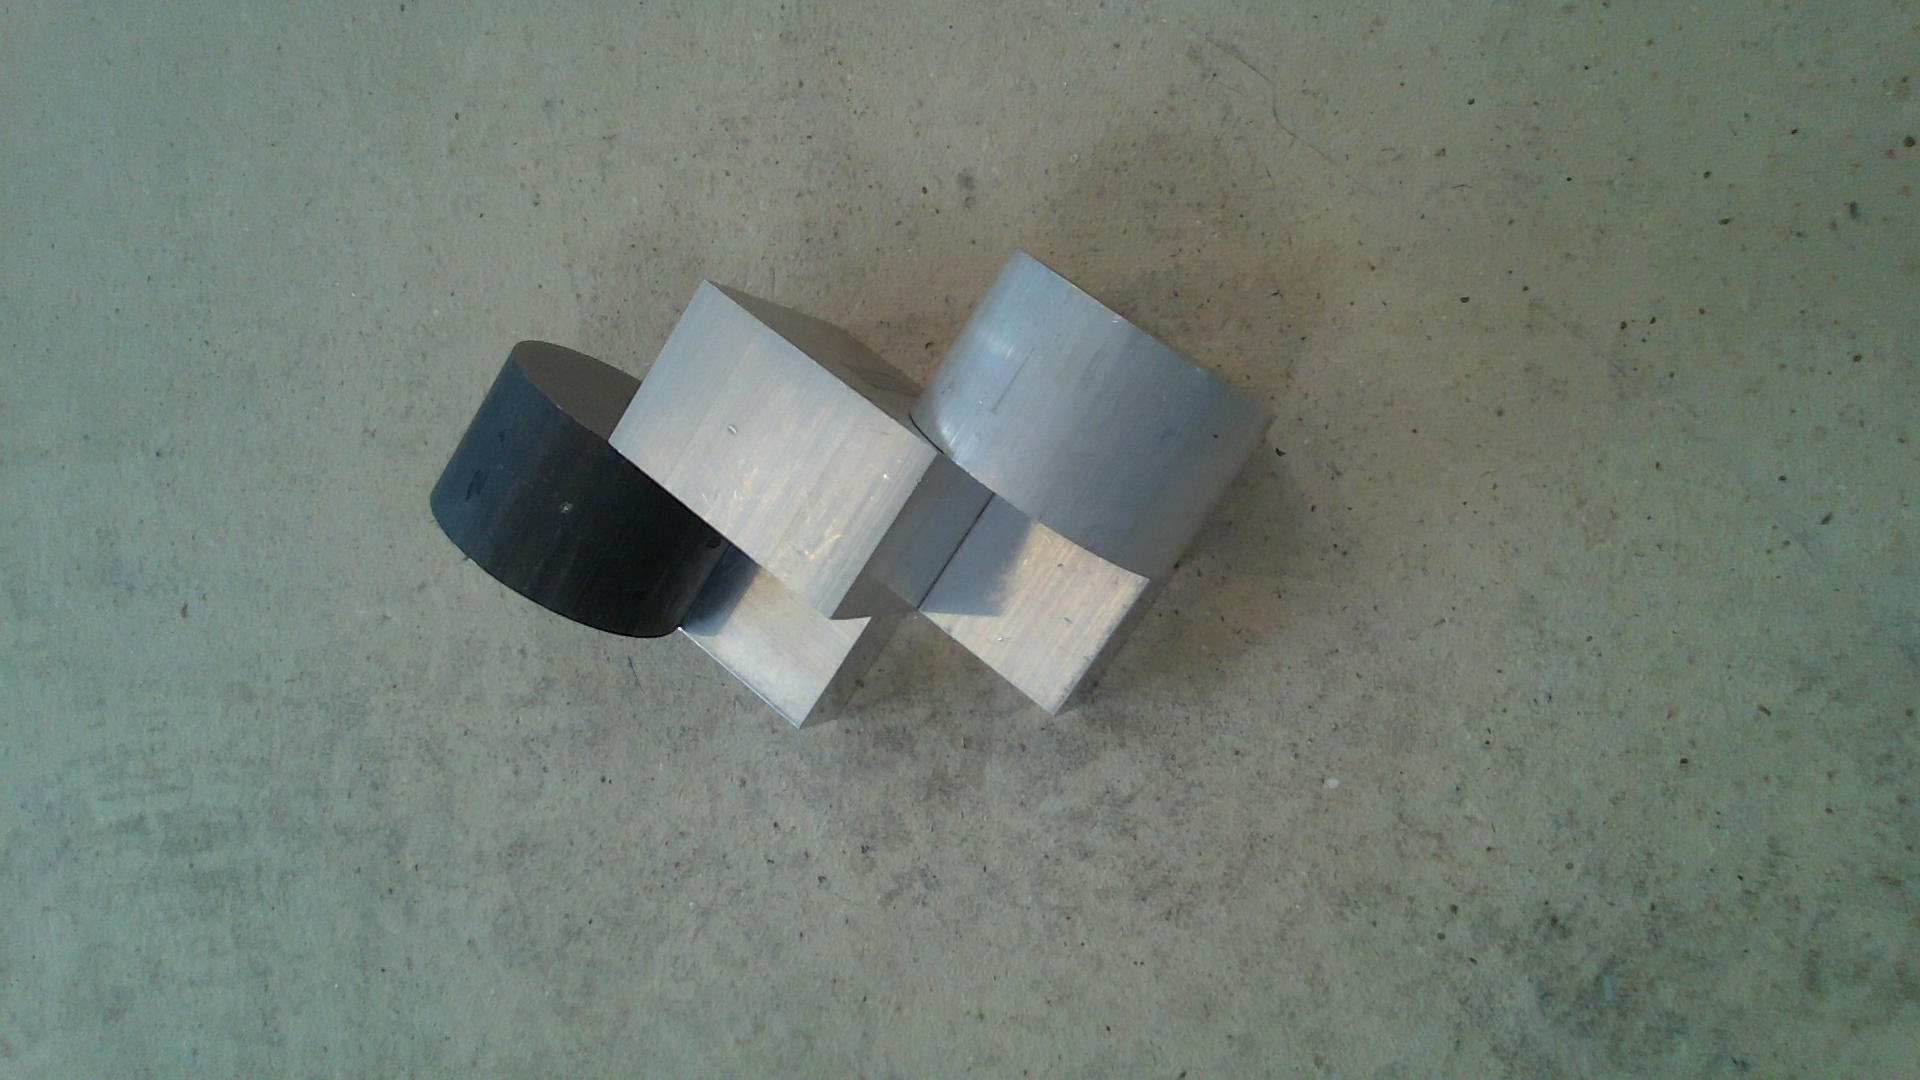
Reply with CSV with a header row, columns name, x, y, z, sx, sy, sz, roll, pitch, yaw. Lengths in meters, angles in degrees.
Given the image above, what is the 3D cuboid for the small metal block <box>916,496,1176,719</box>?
name,x,y,z,sx,sy,sz,roll,pitch,yaw
small metal block,0.025,0.014,0.388,0.050,0.025,0.050,37,102,16

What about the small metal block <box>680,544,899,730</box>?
name,x,y,z,sx,sy,sz,roll,pitch,yaw
small metal block,-0.049,0.021,0.414,0.050,0.025,0.050,37,102,16

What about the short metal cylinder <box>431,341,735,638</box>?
name,x,y,z,sx,sy,sz,roll,pitch,yaw
short metal cylinder,-0.106,-0.015,0.405,0.080,0.080,0.050,37,102,16

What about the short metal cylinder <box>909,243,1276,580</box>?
name,x,y,z,sx,sy,sz,roll,pitch,yaw
short metal cylinder,0.034,-0.033,0.355,0.080,0.080,0.050,37,102,16

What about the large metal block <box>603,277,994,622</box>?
name,x,y,z,sx,sy,sz,roll,pitch,yaw
large metal block,-0.035,-0.023,0.380,0.080,0.080,0.050,37,102,16
